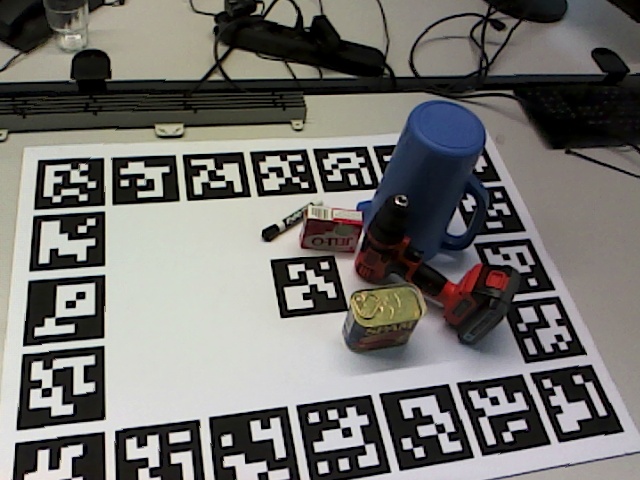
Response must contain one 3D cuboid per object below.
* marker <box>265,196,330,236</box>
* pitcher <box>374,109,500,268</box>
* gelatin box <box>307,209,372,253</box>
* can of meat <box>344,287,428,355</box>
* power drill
[{"bbox_3d":[-0.037,-0.039,0.993,0.120,0.019,0.020,-29,64,-26],"label":"marker"},{"bbox_3d":[0.180,-0.069,0.926,0.189,0.242,0.133,19,57,12],"label":"pitcher"},{"bbox_3d":[0.029,-0.012,0.955,0.089,0.073,0.030,6,58,-7],"label":"gelatin box"},{"bbox_3d":[0.088,0.114,0.863,0.101,0.083,0.058,-4,54,-14],"label":"can of meat"},{"bbox_3d":[0.149,0.031,0.876,0.187,0.184,0.057,28,57,3],"label":"power drill"}]
